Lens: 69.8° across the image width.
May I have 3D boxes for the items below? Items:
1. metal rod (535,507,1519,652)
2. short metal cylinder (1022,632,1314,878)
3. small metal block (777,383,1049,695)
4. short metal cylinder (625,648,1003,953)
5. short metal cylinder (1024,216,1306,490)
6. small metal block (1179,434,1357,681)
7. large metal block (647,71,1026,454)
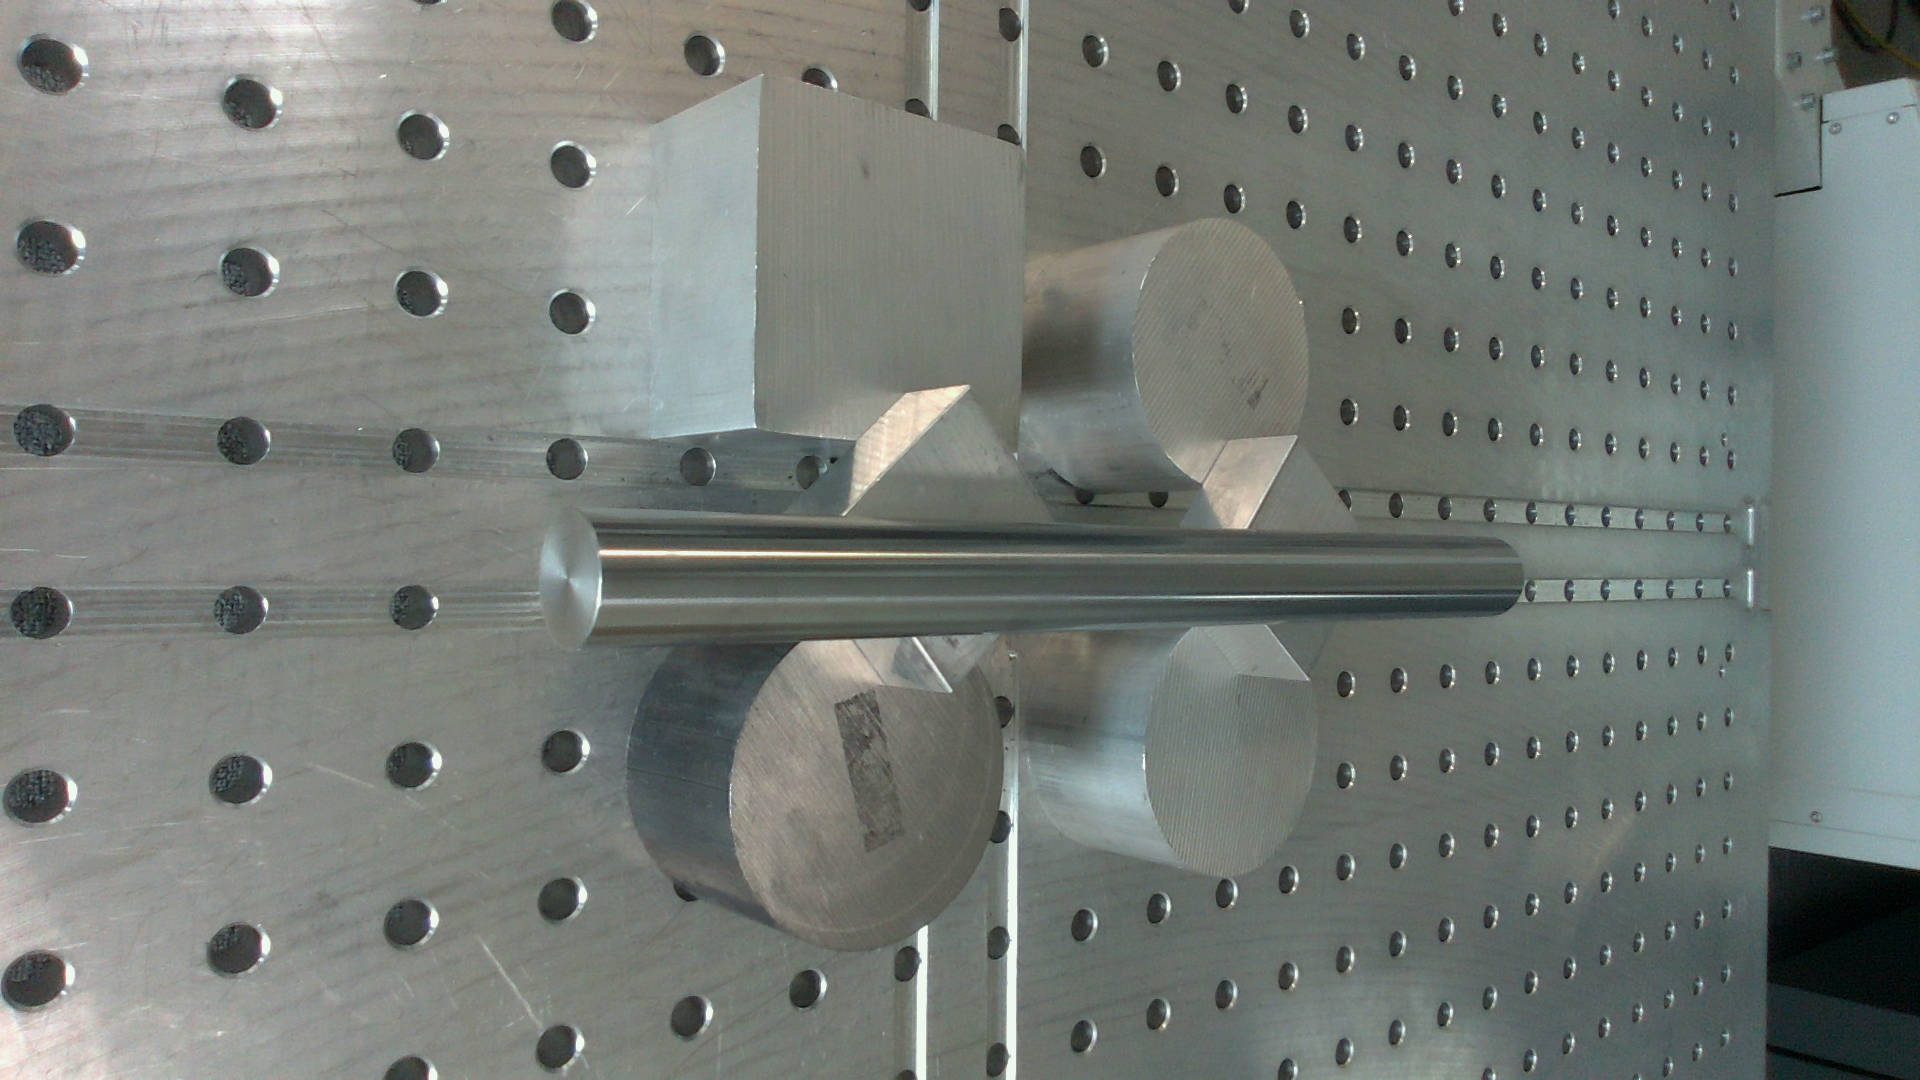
[{"bbox_3d":[0.047,0.009,0.334,0.301,0.025,0.025,1,89,-40],"label":"metal rod"},{"bbox_3d":[0.066,0.061,0.431,0.080,0.050,0.080,0,90,-40],"label":"short metal cylinder"},{"bbox_3d":[-0.009,-0.001,0.320,0.050,0.025,0.050,-47,118,-29],"label":"small metal block"},{"bbox_3d":[-0.036,0.057,0.345,0.080,0.050,0.080,0,90,-40],"label":"short metal cylinder"},{"bbox_3d":[0.062,-0.056,0.428,0.080,0.050,0.080,0,90,-40],"label":"short metal cylinder"},{"bbox_3d":[0.089,0.005,0.402,0.050,0.025,0.050,48,62,-29],"label":"small metal block"},{"bbox_3d":[-0.030,-0.063,0.349,0.080,0.050,0.080,2,89,-40],"label":"large metal block"}]
